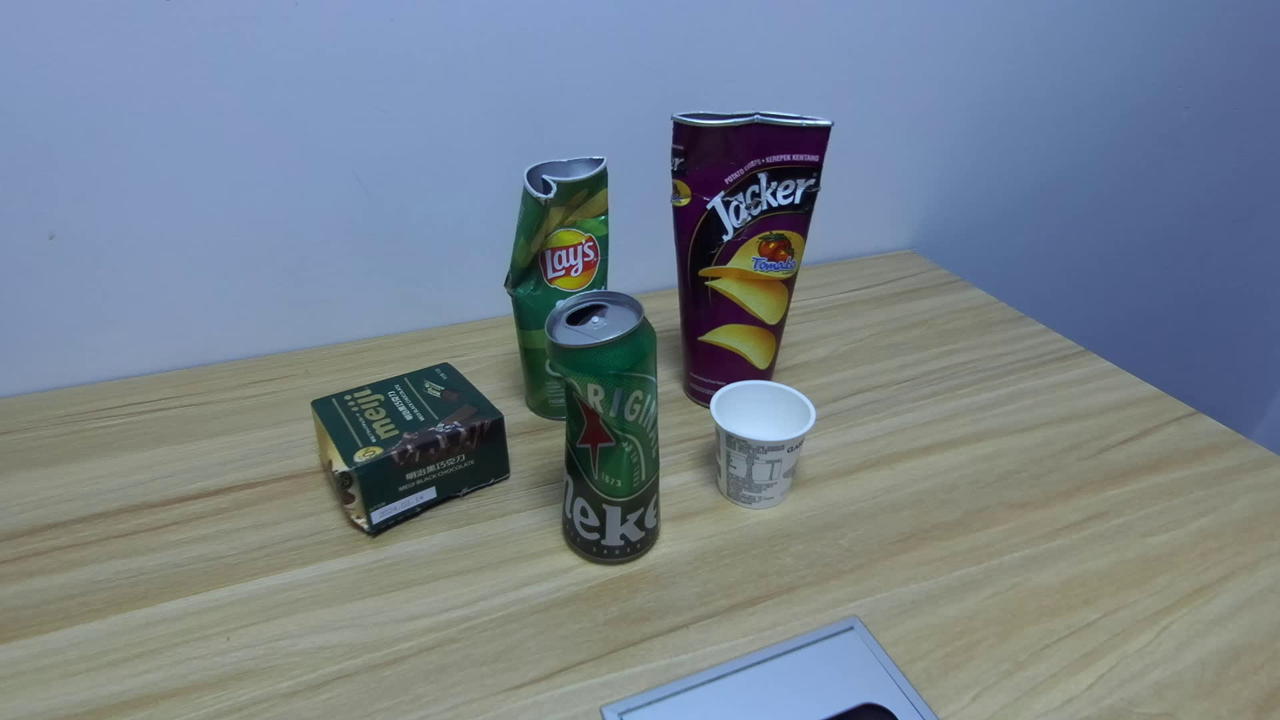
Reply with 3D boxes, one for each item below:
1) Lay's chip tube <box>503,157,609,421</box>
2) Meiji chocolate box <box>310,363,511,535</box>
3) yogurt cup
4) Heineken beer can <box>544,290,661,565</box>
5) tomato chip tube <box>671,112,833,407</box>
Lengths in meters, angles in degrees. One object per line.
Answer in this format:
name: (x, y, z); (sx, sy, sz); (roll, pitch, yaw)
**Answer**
Lay's chip tube: (-0.062, -0.053, 0.556); (0.069, 0.201, 0.077); (4, 36, 3)
Meiji chocolate box: (-0.169, 0.058, 0.520); (0.123, 0.058, 0.115); (-20, 35, -31)
yogurt cup: (0.082, 0.061, 0.494); (0.072, 0.068, 0.072); (0, 32, 0)
Heineken beer can: (-0.021, 0.045, 0.430); (0.069, 0.168, 0.068); (9, 34, 17)
tomato chip tube: (0.076, -0.073, 0.558); (0.078, 0.236, 0.089); (-25, 43, -33)
